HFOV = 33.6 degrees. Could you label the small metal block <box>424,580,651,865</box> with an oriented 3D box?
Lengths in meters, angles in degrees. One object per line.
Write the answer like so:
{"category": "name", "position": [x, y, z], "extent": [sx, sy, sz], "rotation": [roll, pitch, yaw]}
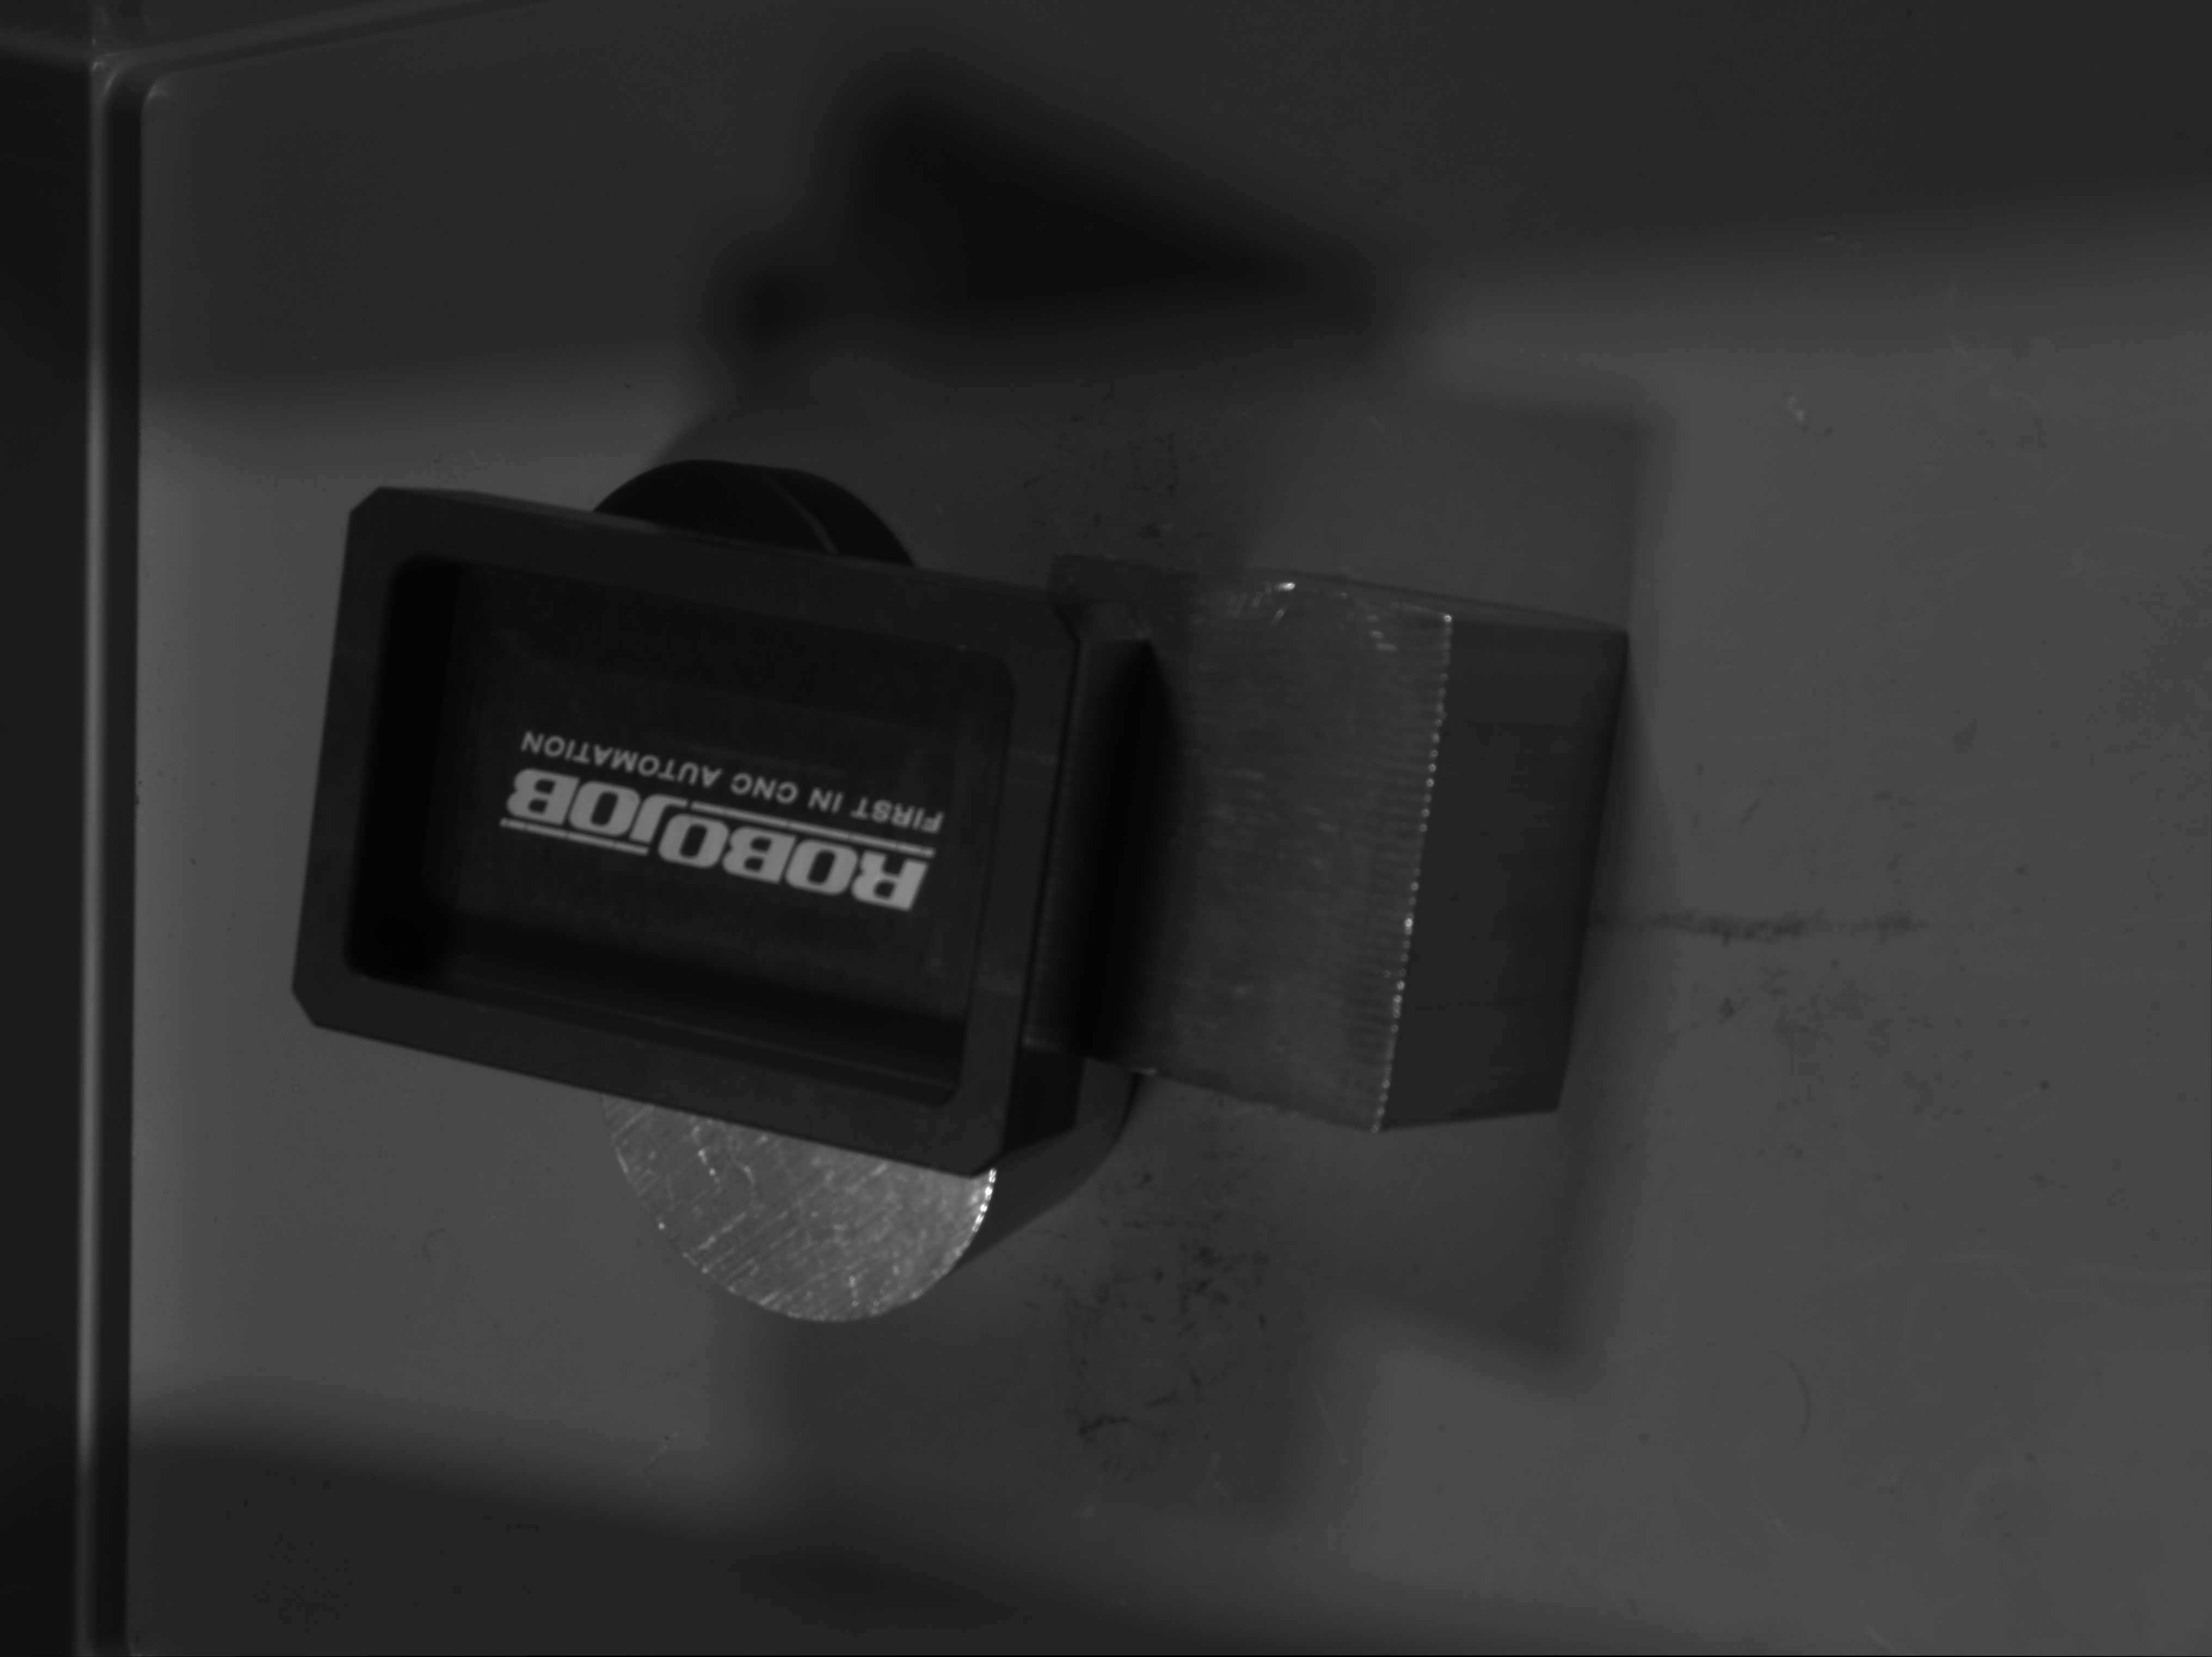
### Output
{"category": "small metal block", "position": [-0.111, -0.021, 0.655], "extent": [0.025, 0.050, 0.050], "rotation": [16, 100, 38]}

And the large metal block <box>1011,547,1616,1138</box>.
{"category": "large metal block", "position": [0.030, 0.001, 0.593], "extent": [0.080, 0.050, 0.080], "rotation": [13, 98, 39]}

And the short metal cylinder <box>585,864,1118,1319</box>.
{"category": "short metal cylinder", "position": [-0.044, 0.039, 0.640], "extent": [0.080, 0.050, 0.080], "rotation": [7, 106, 26]}

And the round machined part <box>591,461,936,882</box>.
{"category": "round machined part", "position": [-0.081, -0.020, 0.690], "extent": [0.098, 0.042, 0.098], "rotation": [0, 90, 39]}

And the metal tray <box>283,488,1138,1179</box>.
{"category": "metal tray", "position": [-0.066, -0.001, 0.594], "extent": [0.130, 0.030, 0.090], "rotation": [11, 97, 19]}
